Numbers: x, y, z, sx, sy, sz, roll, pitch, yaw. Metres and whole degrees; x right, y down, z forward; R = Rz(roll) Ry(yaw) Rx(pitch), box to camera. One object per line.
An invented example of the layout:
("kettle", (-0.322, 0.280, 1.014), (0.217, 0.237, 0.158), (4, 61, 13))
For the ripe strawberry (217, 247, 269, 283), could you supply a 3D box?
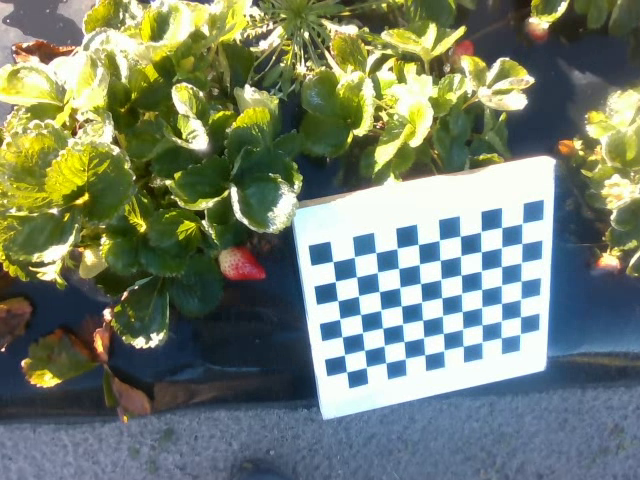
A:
("ripe strawberry", (-0.090, 0.034, 0.700), (0.065, 0.040, 0.040), (29, 11, -21))
